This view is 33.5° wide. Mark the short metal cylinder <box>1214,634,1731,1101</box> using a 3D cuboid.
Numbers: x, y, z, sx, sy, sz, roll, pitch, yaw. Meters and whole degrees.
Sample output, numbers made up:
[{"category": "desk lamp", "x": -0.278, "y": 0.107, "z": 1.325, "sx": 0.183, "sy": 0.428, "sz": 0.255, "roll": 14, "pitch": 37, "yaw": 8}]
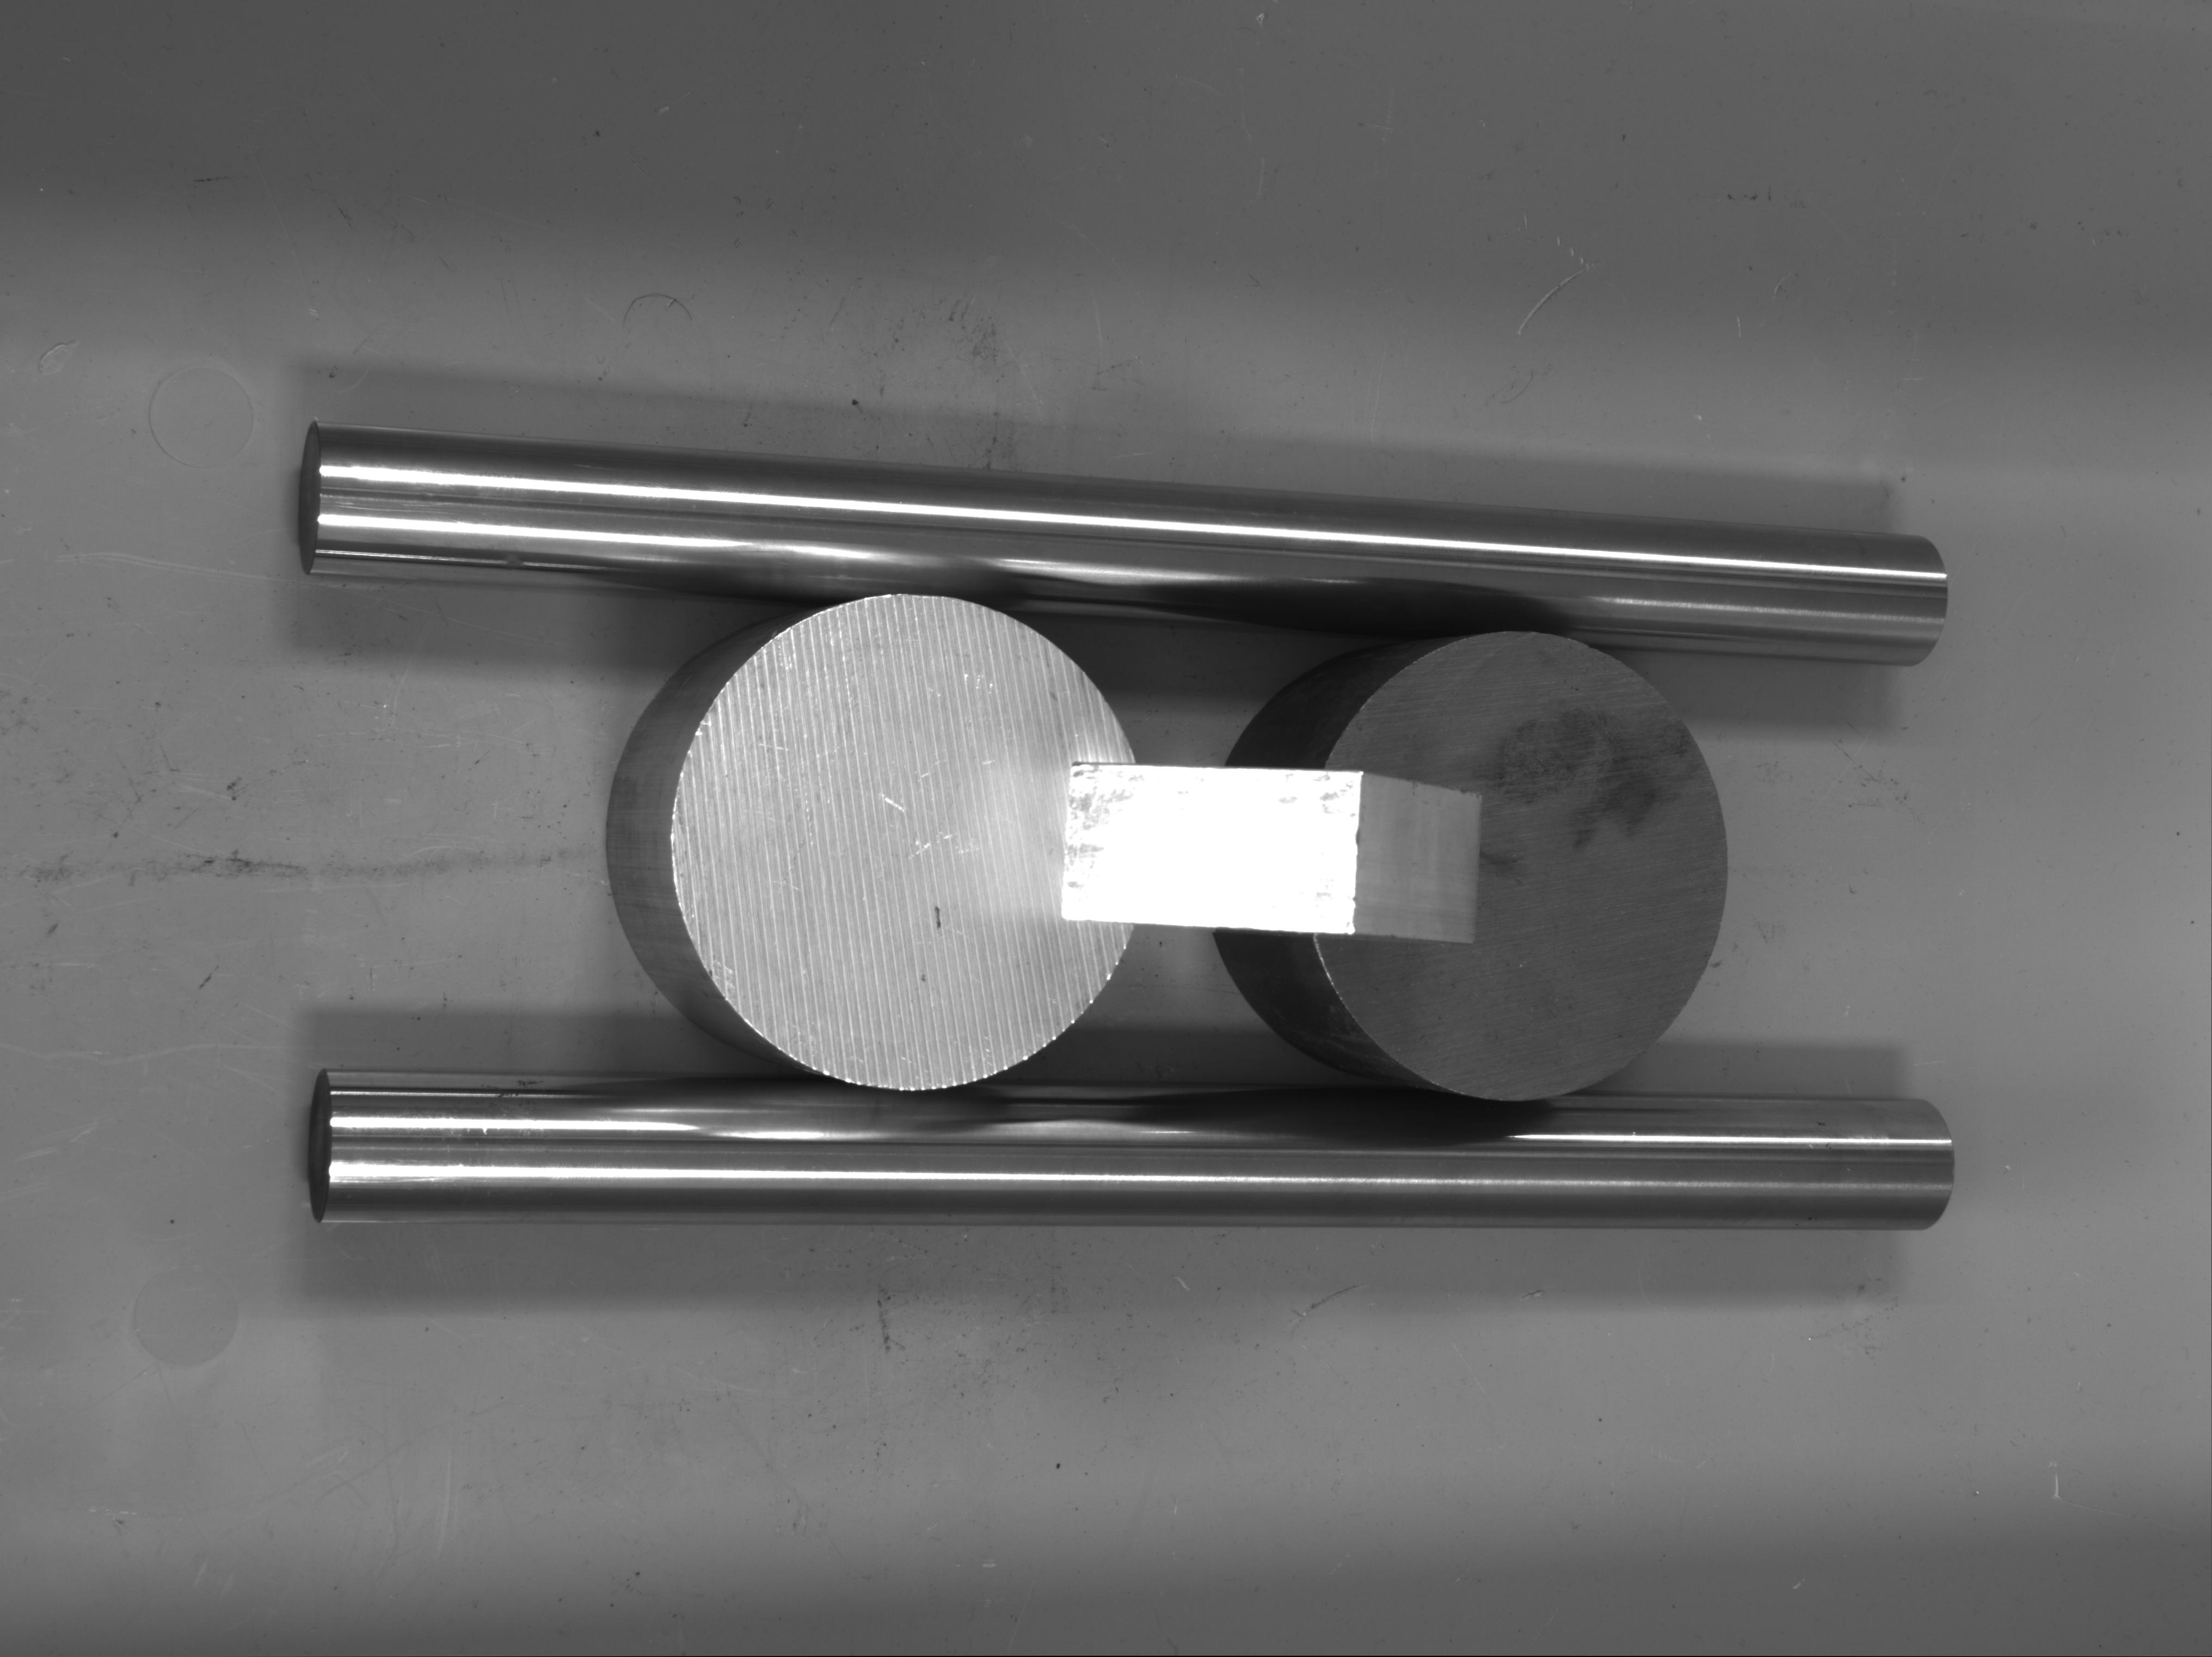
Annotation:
[{"category": "short metal cylinder", "x": 0.063, "y": 0.007, "z": 0.652, "sx": 0.080, "sy": 0.050, "sz": 0.080, "roll": 0, "pitch": 90, "yaw": -20}]

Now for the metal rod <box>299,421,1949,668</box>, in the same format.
[{"category": "metal rod", "x": 0.012, "y": -0.048, "z": 0.647, "sx": 0.301, "sy": 0.025, "sz": 0.025, "roll": 2, "pitch": 89, "yaw": -20}]

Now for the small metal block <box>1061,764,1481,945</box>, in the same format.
[{"category": "small metal block", "x": 0.027, "y": 0.004, "z": 0.590, "sx": 0.050, "sy": 0.050, "sz": 0.025, "roll": 7, "pitch": 85, "yaw": -63}]

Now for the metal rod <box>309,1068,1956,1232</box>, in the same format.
[{"category": "metal rod", "x": 0.014, "y": 0.058, "z": 0.647, "sx": 0.301, "sy": 0.025, "sz": 0.025, "roll": 3, "pitch": 89, "yaw": -20}]

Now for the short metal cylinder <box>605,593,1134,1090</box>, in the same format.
[{"category": "short metal cylinder", "x": -0.039, "y": 0.002, "z": 0.615, "sx": 0.080, "sy": 0.050, "sz": 0.080, "roll": 0, "pitch": 90, "yaw": -20}]
